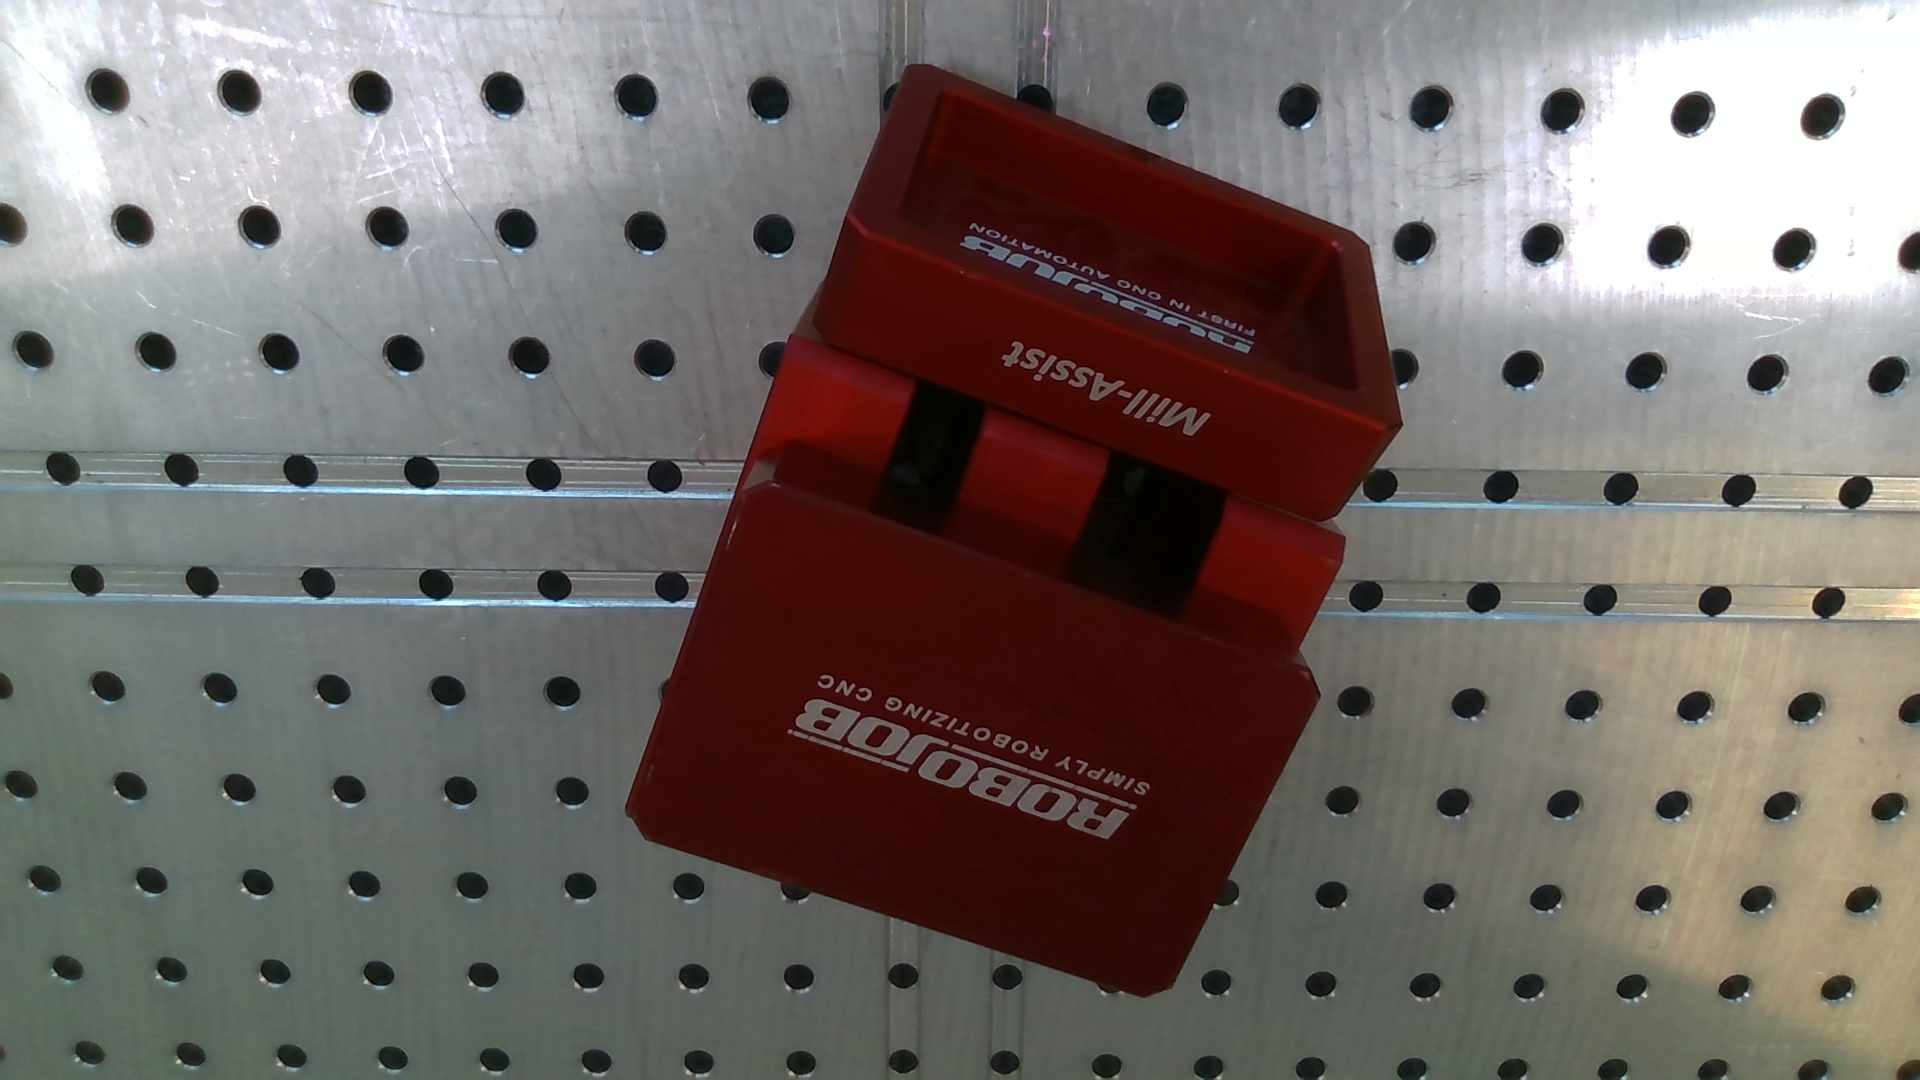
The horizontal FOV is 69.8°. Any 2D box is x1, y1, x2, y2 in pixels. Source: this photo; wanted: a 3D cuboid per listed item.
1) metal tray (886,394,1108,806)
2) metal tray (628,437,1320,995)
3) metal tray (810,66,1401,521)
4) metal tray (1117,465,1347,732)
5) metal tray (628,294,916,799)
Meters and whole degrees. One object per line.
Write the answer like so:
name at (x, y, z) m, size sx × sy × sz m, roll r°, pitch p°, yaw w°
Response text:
metal tray at (-0.003, 0.018, 0.367) m, size 0.030 × 0.090 × 0.130 m, roll 18°, pitch 110°, yaw -8°
metal tray at (0.002, 0.042, 0.312) m, size 0.130 × 0.030 × 0.090 m, roll 20°, pitch 109°, yaw -7°
metal tray at (0.037, -0.063, 0.335) m, size 0.130 × 0.090 × 0.030 m, roll 19°, pitch 131°, yaw -7°
metal tray at (0.053, 0.038, 0.374) m, size 0.030 × 0.090 × 0.130 m, roll 20°, pitch 108°, yaw -6°
metal tray at (-0.047, 0.003, 0.361) m, size 0.030 × 0.090 × 0.130 m, roll 20°, pitch 109°, yaw -7°
